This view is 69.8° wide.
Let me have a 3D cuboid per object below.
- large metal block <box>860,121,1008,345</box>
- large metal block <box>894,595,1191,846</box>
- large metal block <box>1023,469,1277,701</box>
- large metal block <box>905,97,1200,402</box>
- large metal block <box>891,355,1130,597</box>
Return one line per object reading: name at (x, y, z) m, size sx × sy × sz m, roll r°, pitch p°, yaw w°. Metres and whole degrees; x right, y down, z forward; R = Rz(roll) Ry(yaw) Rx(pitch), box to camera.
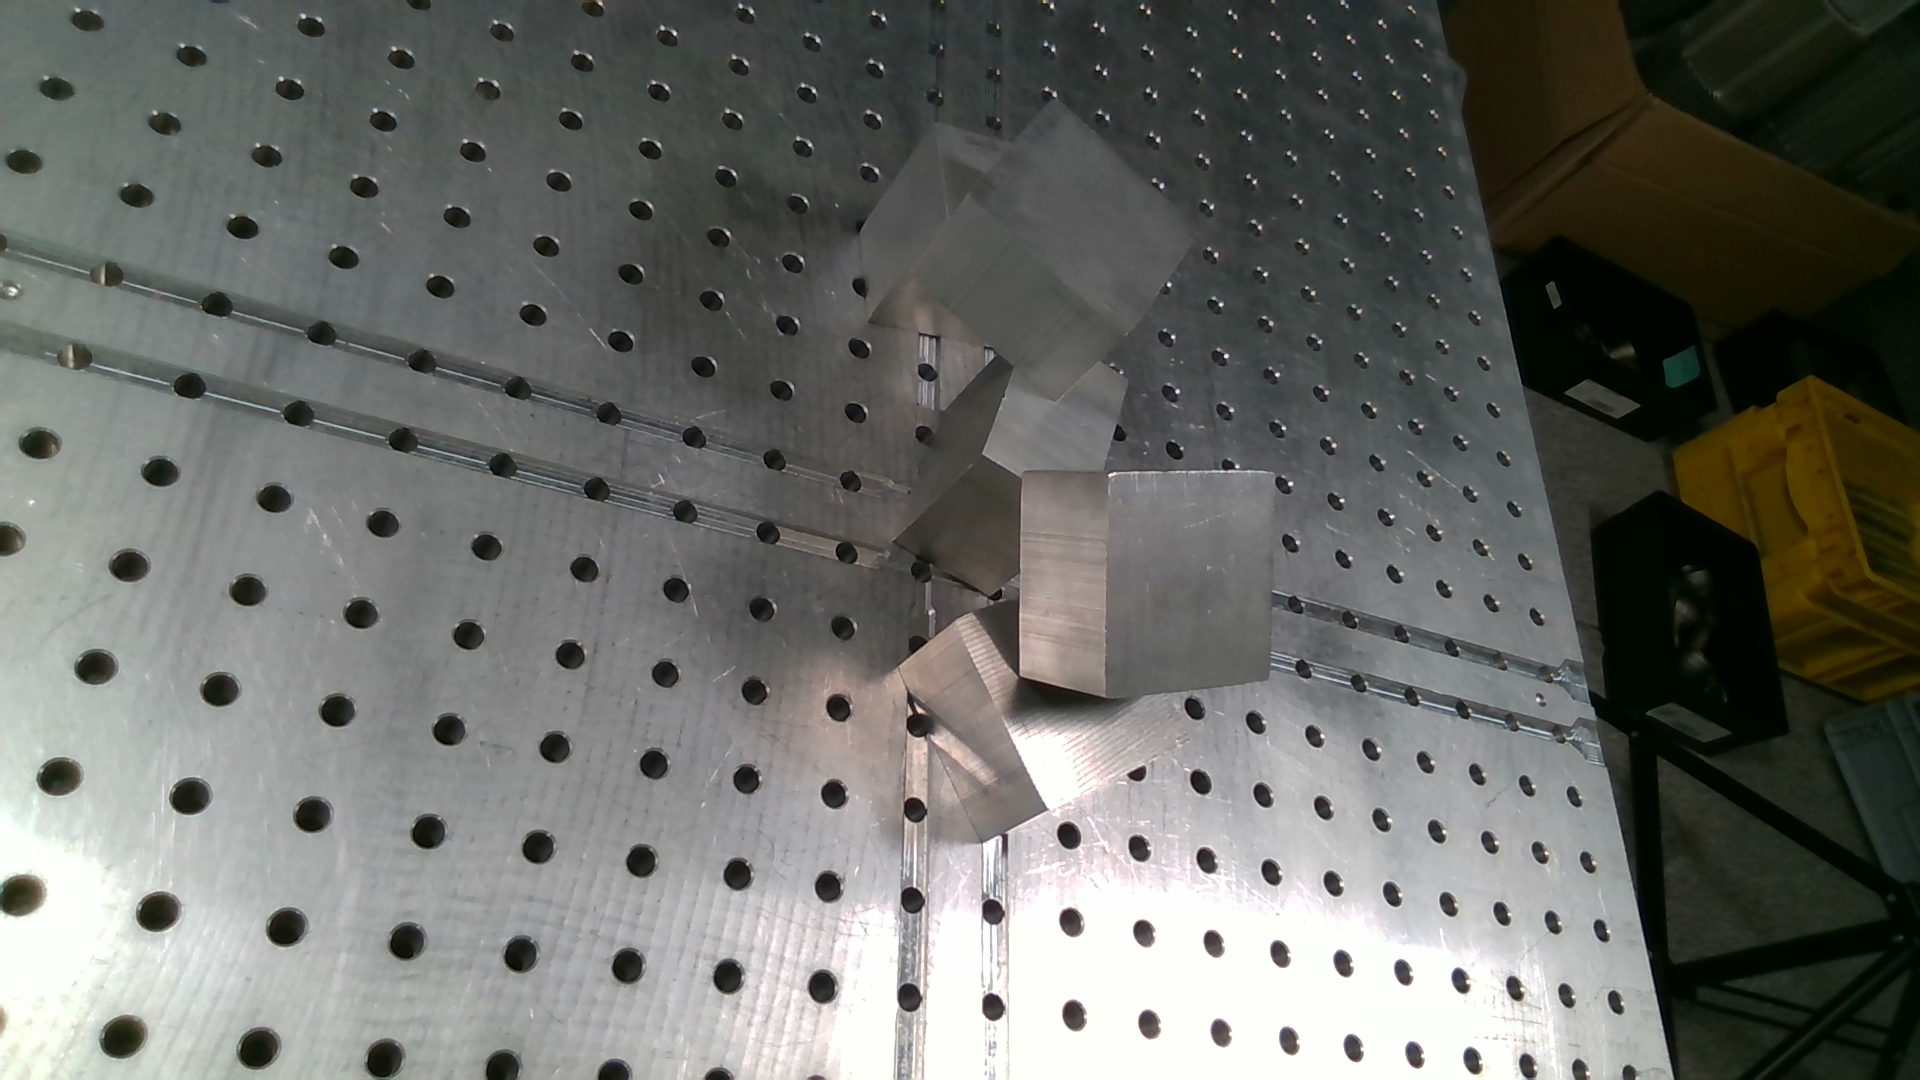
large metal block at (0.007, -0.136, 0.630) m, size 0.080 × 0.080 × 0.050 m, roll 8°, pitch 61°, yaw -28°
large metal block at (0.033, 0.066, 0.558) m, size 0.080 × 0.050 × 0.080 m, roll -18°, pitch 76°, yaw -37°
large metal block at (0.072, 0.014, 0.521) m, size 0.080 × 0.050 × 0.080 m, roll -2°, pitch 95°, yaw -32°
large metal block at (0.039, -0.117, 0.555) m, size 0.080 × 0.050 × 0.080 m, roll 41°, pitch 51°, yaw -7°
large metal block at (0.021, -0.034, 0.584) m, size 0.050 × 0.080 × 0.080 m, roll 31°, pitch 53°, yaw -14°
